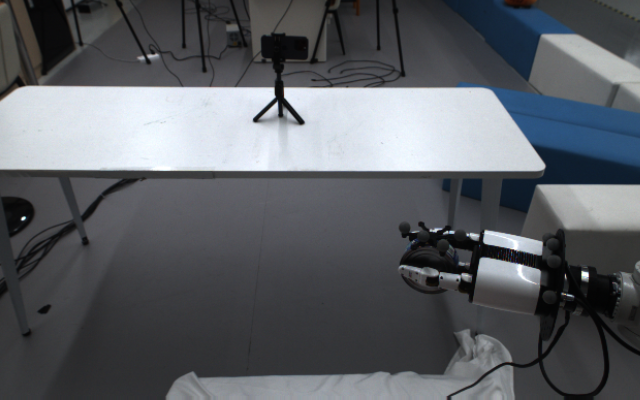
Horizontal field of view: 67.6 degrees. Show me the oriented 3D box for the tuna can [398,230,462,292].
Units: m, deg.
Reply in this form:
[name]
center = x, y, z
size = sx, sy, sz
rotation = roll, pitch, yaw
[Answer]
[tuna can]
center = 0.167, 0.095, 0.730
size = 0.085, 0.085, 0.034
rotation = 13, 29, 16
